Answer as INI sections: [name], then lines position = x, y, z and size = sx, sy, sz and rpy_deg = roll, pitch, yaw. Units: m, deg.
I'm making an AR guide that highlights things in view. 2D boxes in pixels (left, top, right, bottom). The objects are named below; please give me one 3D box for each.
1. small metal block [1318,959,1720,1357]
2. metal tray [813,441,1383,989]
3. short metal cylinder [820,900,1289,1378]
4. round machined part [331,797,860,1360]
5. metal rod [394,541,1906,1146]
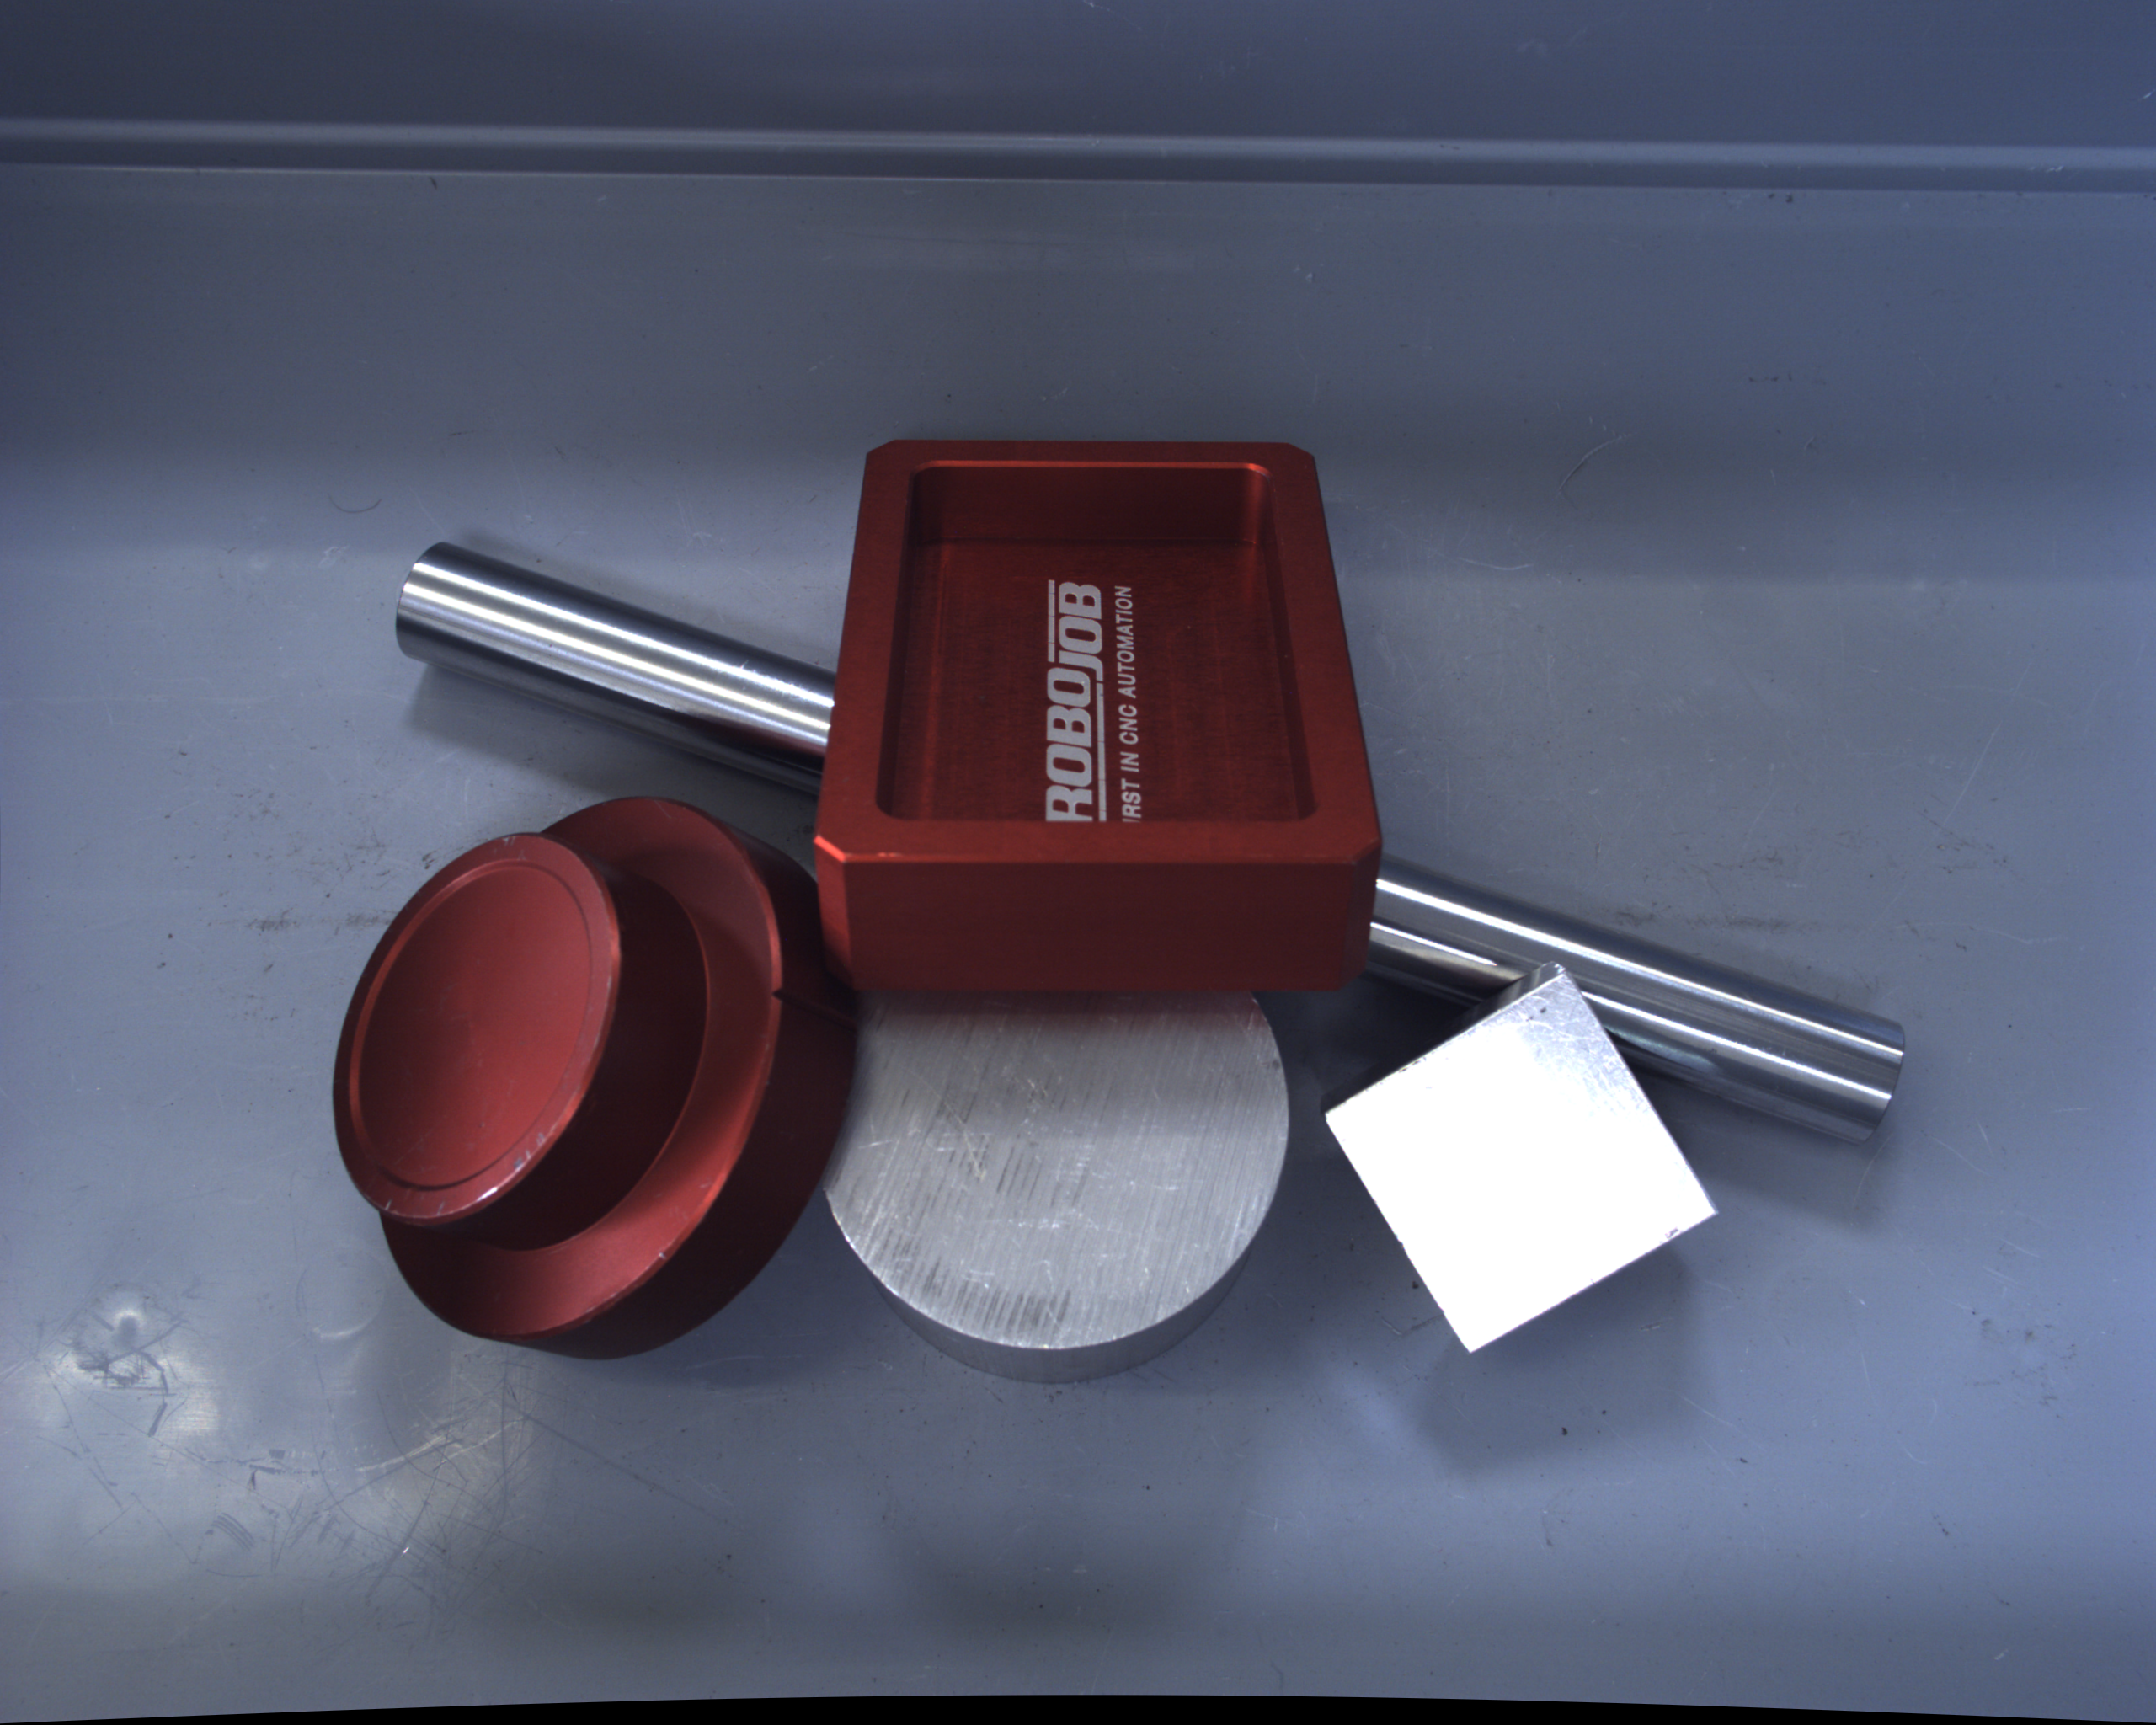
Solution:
[small metal block]
position = 0.078, 0.052, 0.377
size = 0.050, 0.025, 0.050
rpy_deg = -31, 89, 6
[metal tray]
position = 0.003, -0.032, 0.386
size = 0.091, 0.030, 0.130
rpy_deg = 0, 41, -1
[short metal cylinder]
position = -0.004, 0.050, 0.376
size = 0.081, 0.050, 0.080
rpy_deg = 0, 70, 0
[round machined part]
position = -0.089, 0.033, 0.361
size = 0.098, 0.042, 0.098
rpy_deg = -15, 61, 29
[metal rod]
position = 0.009, -0.006, 0.410
size = 0.301, 0.025, 0.025
rpy_deg = 19, 71, 6
